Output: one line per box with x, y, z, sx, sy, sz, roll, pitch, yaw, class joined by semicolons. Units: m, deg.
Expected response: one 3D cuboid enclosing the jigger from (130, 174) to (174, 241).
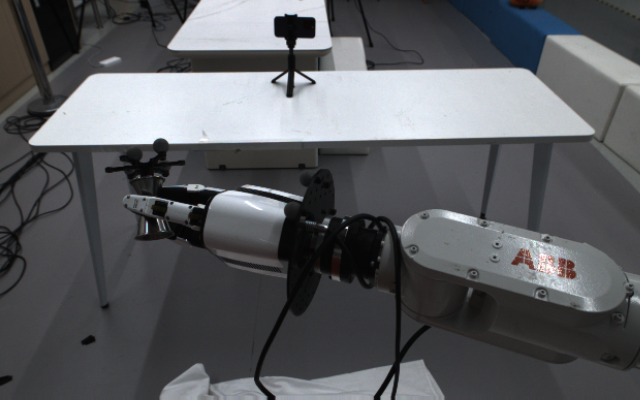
-0.193;0.011;0.562;0.043;0.043;0.071;-9;79;-15;jigger
